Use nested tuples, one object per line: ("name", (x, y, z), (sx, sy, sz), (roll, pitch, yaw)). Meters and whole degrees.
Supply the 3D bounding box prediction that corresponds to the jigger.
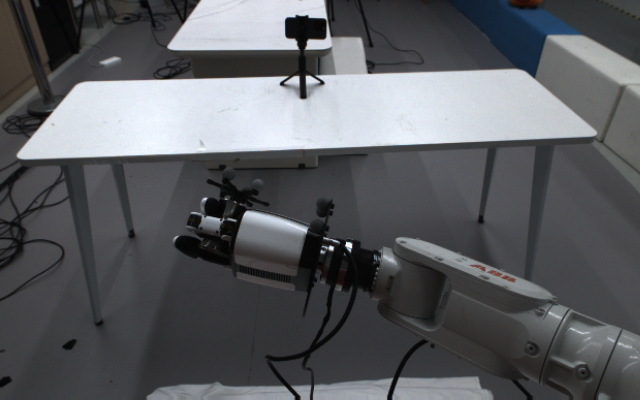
("jigger", (-0.126, 0.035, 0.634), (0.043, 0.043, 0.071), (15, 70, 18))
